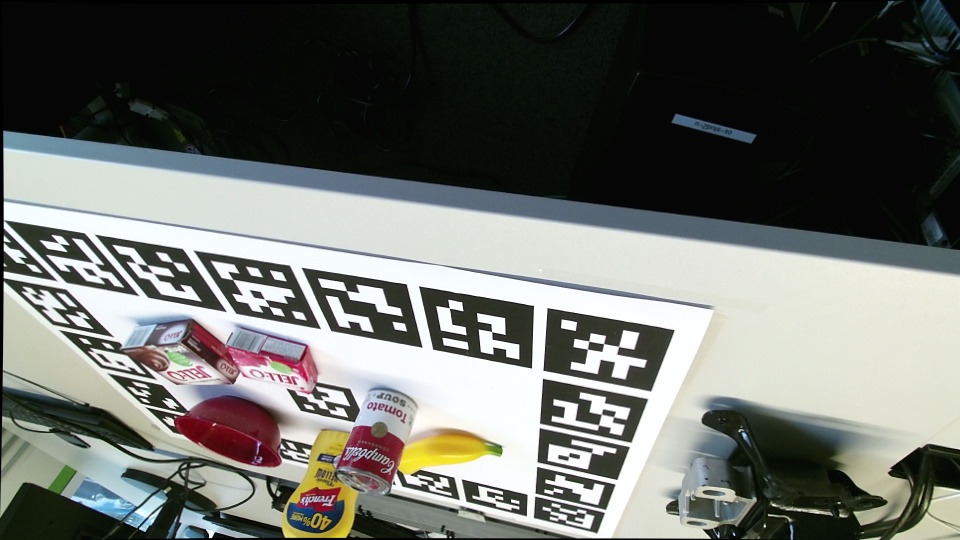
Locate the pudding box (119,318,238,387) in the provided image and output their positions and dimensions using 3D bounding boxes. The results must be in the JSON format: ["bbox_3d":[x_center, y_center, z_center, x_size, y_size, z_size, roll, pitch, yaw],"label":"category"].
[{"bbox_3d":[-0.368,0.105,0.661,0.114,0.038,0.090,-9,128,28],"label":"pudding box"}]

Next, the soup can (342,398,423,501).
[{"bbox_3d":[-0.114,0.210,0.625,0.068,0.101,0.068,12,142,10],"label":"soup can"}]

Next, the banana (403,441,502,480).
[{"bbox_3d":[-0.060,0.261,0.727,0.074,0.038,0.197,29,140,-28],"label":"banana"}]

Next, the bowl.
[{"bbox_3d":[-0.369,0.233,0.801,0.162,0.055,0.162,9,140,8],"label":"bowl"}]

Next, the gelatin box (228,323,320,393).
[{"bbox_3d":[-0.236,0.103,0.617,0.089,0.030,0.073,13,137,5],"label":"gelatin box"}]

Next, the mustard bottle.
[{"bbox_3d":[-0.222,0.330,0.729,0.096,0.190,0.058,9,142,11],"label":"mustard bottle"}]
